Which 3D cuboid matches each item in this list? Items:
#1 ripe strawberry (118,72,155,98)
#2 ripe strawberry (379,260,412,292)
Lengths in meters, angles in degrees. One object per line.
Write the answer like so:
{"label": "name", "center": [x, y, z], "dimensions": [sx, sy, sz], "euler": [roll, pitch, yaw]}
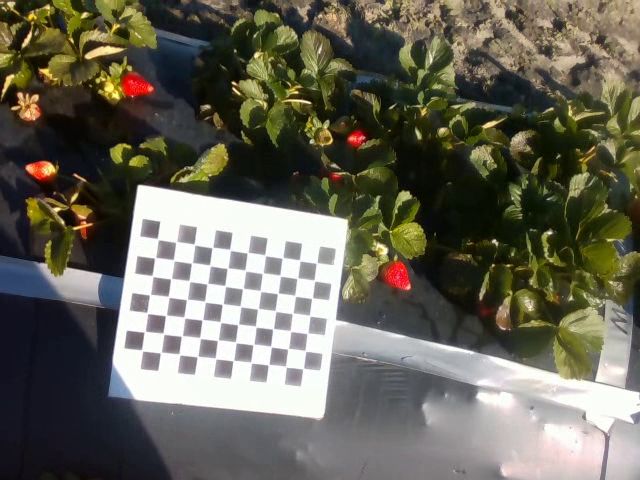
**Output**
{"label": "ripe strawberry", "center": [-0.311, -0.263, 1.015], "dimensions": [0.064, 0.050, 0.052], "euler": [15, -3, 1]}
{"label": "ripe strawberry", "center": [0.119, 0.057, 0.899], "dimensions": [0.048, 0.055, 0.029], "euler": [-37, 4, -8]}
